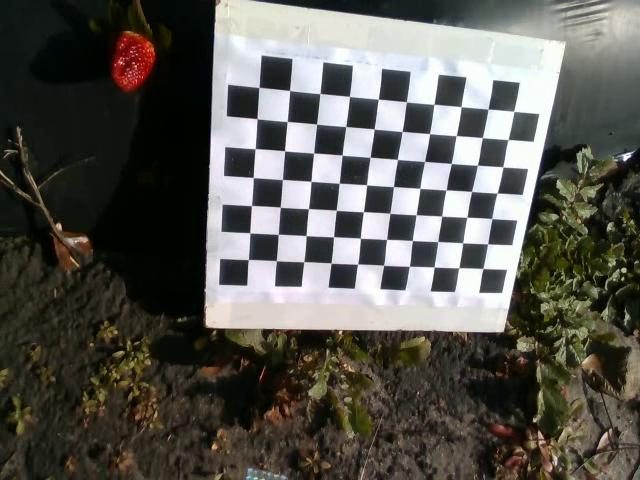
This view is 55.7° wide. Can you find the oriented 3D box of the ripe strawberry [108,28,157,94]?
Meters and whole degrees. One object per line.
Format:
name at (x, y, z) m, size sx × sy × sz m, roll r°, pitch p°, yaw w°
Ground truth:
ripe strawberry at (-0.050, -0.048, 0.160) m, size 0.015 × 0.022 × 0.015 m, roll 10°, pitch -36°, yaw -15°
